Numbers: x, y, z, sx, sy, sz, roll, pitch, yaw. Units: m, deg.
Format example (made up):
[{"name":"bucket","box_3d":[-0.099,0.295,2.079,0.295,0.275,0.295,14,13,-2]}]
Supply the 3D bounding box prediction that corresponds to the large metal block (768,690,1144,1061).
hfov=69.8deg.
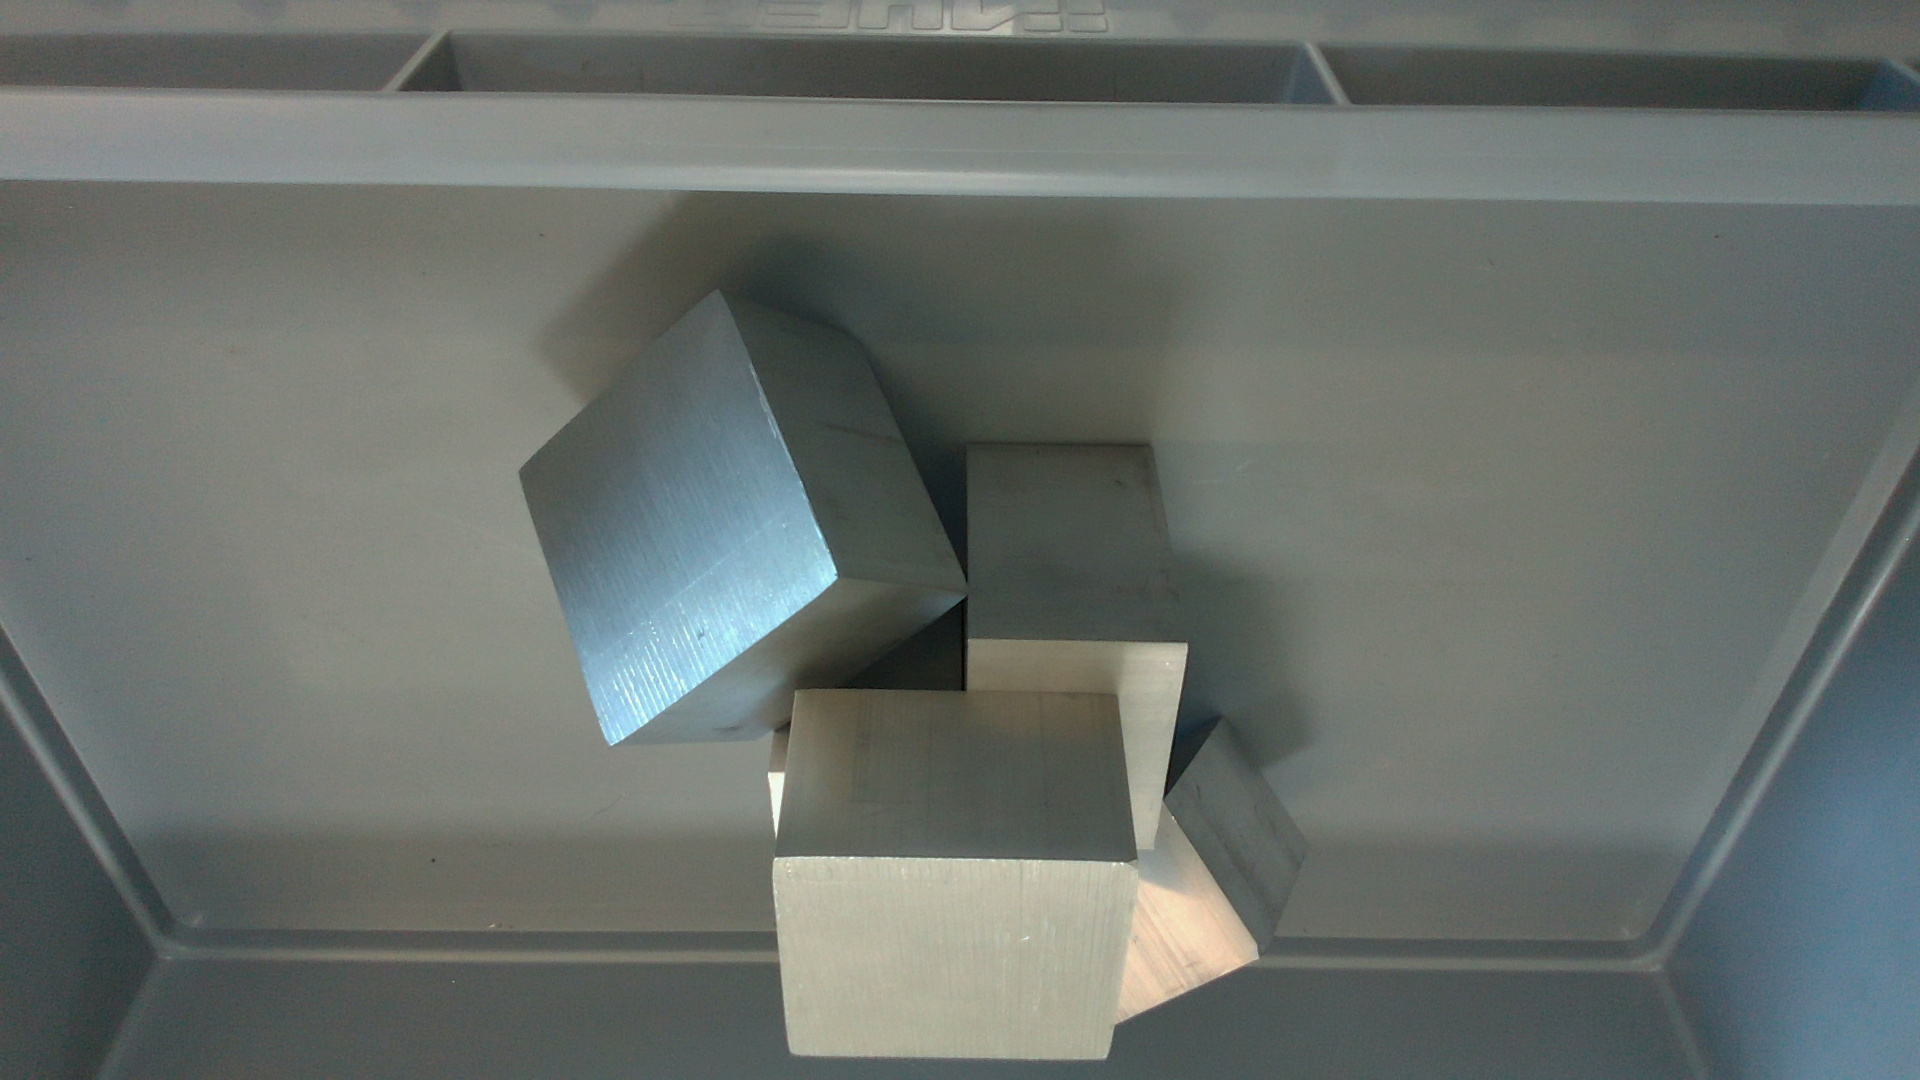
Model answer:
[{"name":"large metal block","box_3d":[-0.002,0.083,0.338,0.080,0.050,0.080,1,130,-1]}]

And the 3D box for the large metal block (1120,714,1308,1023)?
[{"name":"large metal block","box_3d":[0.056,0.107,0.434,0.080,0.080,0.050,-34,87,25]}]

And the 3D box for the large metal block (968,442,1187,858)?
[{"name":"large metal block","box_3d":[0.027,0.029,0.376,0.050,0.080,0.080,0,130,-1]}]

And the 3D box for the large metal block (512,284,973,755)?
[{"name":"large metal block","box_3d":[-0.056,-0.002,0.341,0.080,0.080,0.050,-36,157,26]}]

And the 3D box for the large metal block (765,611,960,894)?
[{"name":"large metal block","box_3d":[-0.026,0.066,0.409,0.050,0.080,0.080,0,130,-1]}]
